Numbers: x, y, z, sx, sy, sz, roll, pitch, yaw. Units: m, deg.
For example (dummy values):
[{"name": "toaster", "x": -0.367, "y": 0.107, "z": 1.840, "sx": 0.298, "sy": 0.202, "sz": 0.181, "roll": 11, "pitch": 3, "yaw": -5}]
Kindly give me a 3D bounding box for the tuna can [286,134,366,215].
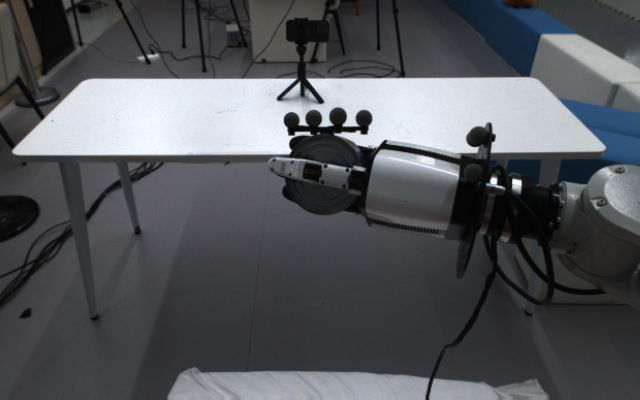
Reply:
[{"name": "tuna can", "x": 0.009, "y": -0.029, "z": 0.523, "sx": 0.085, "sy": 0.085, "sz": 0.034, "roll": 12, "pitch": 8, "yaw": 14}]
